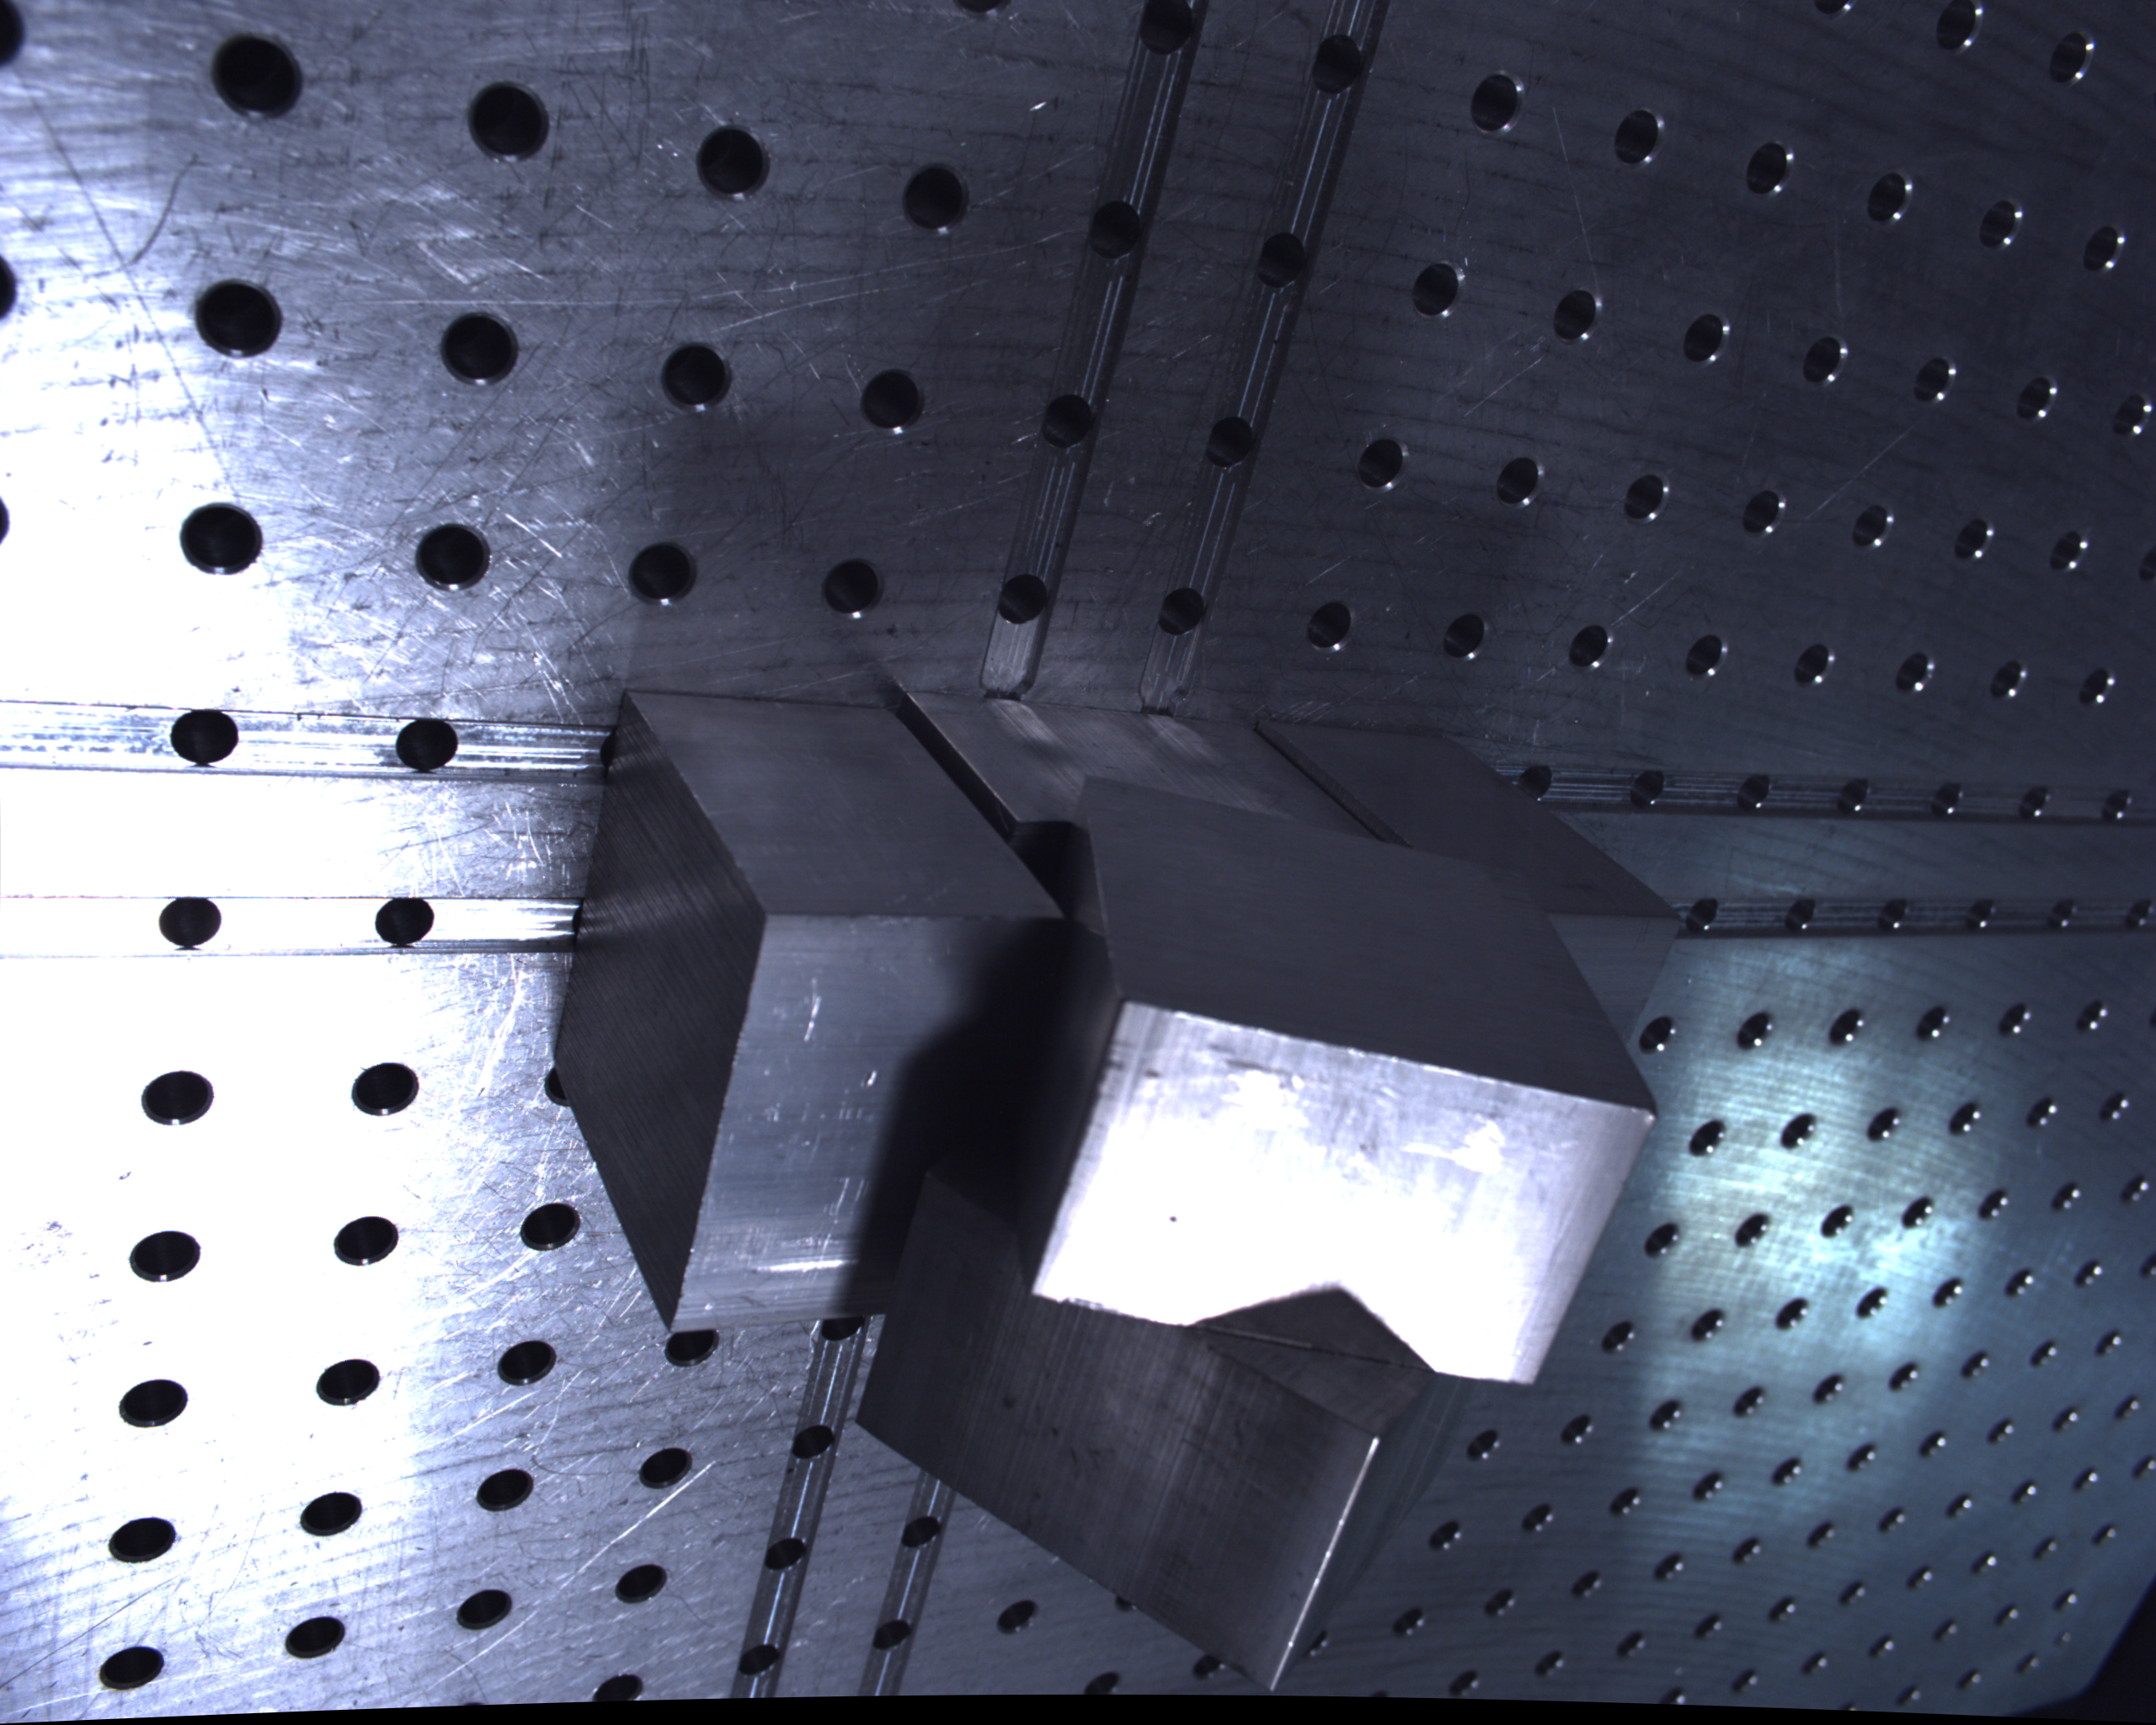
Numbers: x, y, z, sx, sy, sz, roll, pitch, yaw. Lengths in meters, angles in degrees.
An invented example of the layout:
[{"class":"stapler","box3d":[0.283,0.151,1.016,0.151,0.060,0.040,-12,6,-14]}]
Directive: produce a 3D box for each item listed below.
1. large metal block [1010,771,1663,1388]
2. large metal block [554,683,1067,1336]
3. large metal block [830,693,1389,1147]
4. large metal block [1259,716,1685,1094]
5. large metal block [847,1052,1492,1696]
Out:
[{"class":"large metal block","box3d":[0.035,0.032,0.333,0.081,0.080,0.050,13,113,-10]},{"class":"large metal block","box3d":[-0.051,0.023,0.363,0.050,0.080,0.079,2,118,-30]},{"class":"large metal block","box3d":[0.003,0.017,0.406,0.081,0.050,0.079,3,117,-30]},{"class":"large metal block","box3d":[0.065,0.025,0.428,0.050,0.080,0.079,4,117,-31]},{"class":"large metal block","box3d":[0.022,0.077,0.350,0.080,0.080,0.050,-24,136,-57]}]
